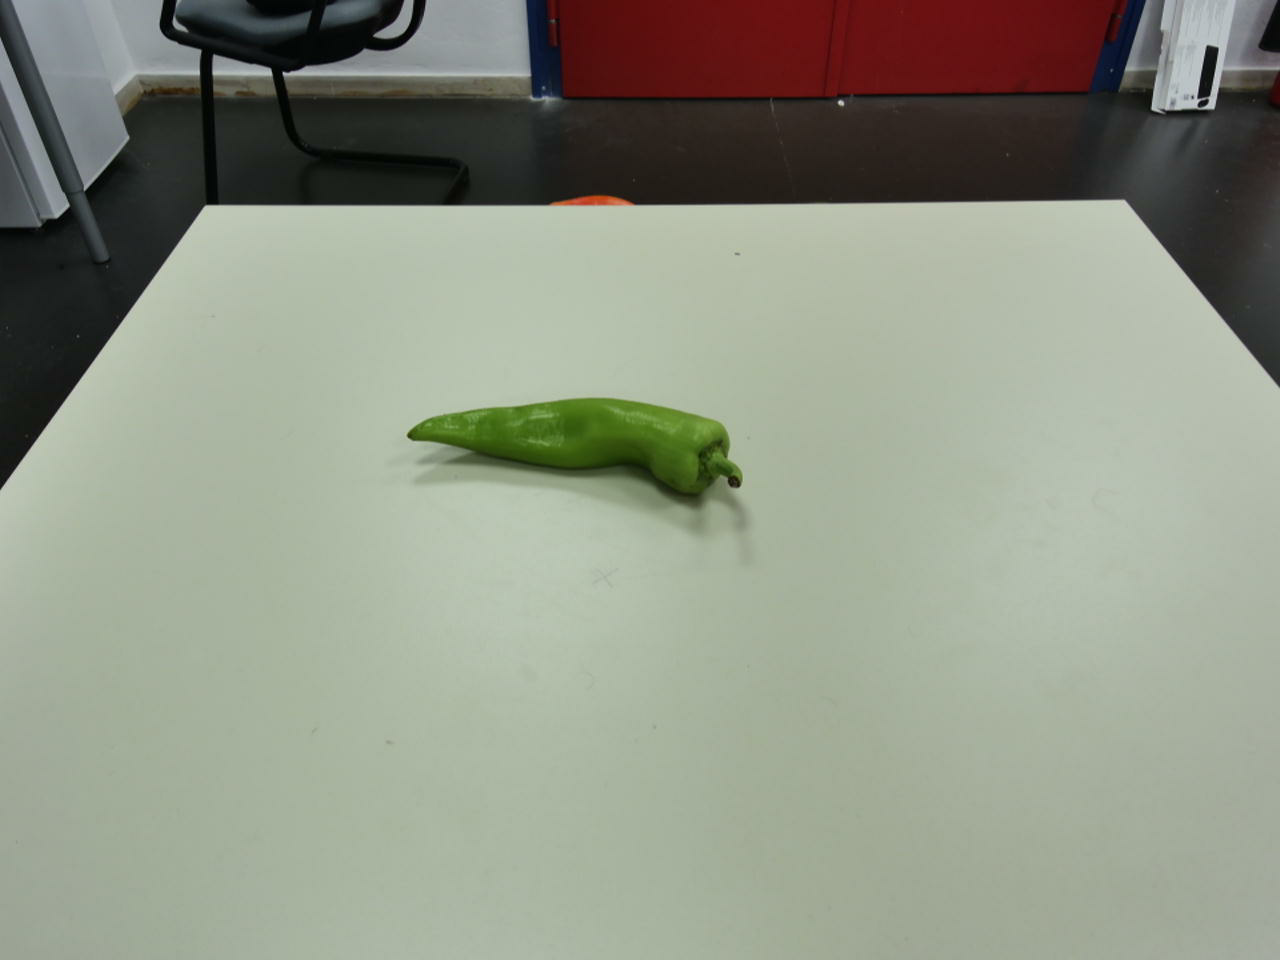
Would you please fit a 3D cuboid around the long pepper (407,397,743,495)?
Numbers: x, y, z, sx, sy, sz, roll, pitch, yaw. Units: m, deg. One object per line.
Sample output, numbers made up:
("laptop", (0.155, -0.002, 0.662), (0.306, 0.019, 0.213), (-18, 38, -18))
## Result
("long pepper", (-0.034, -0.026, 0.595), (0.205, 0.045, 0.065), (11, 40, 12))
